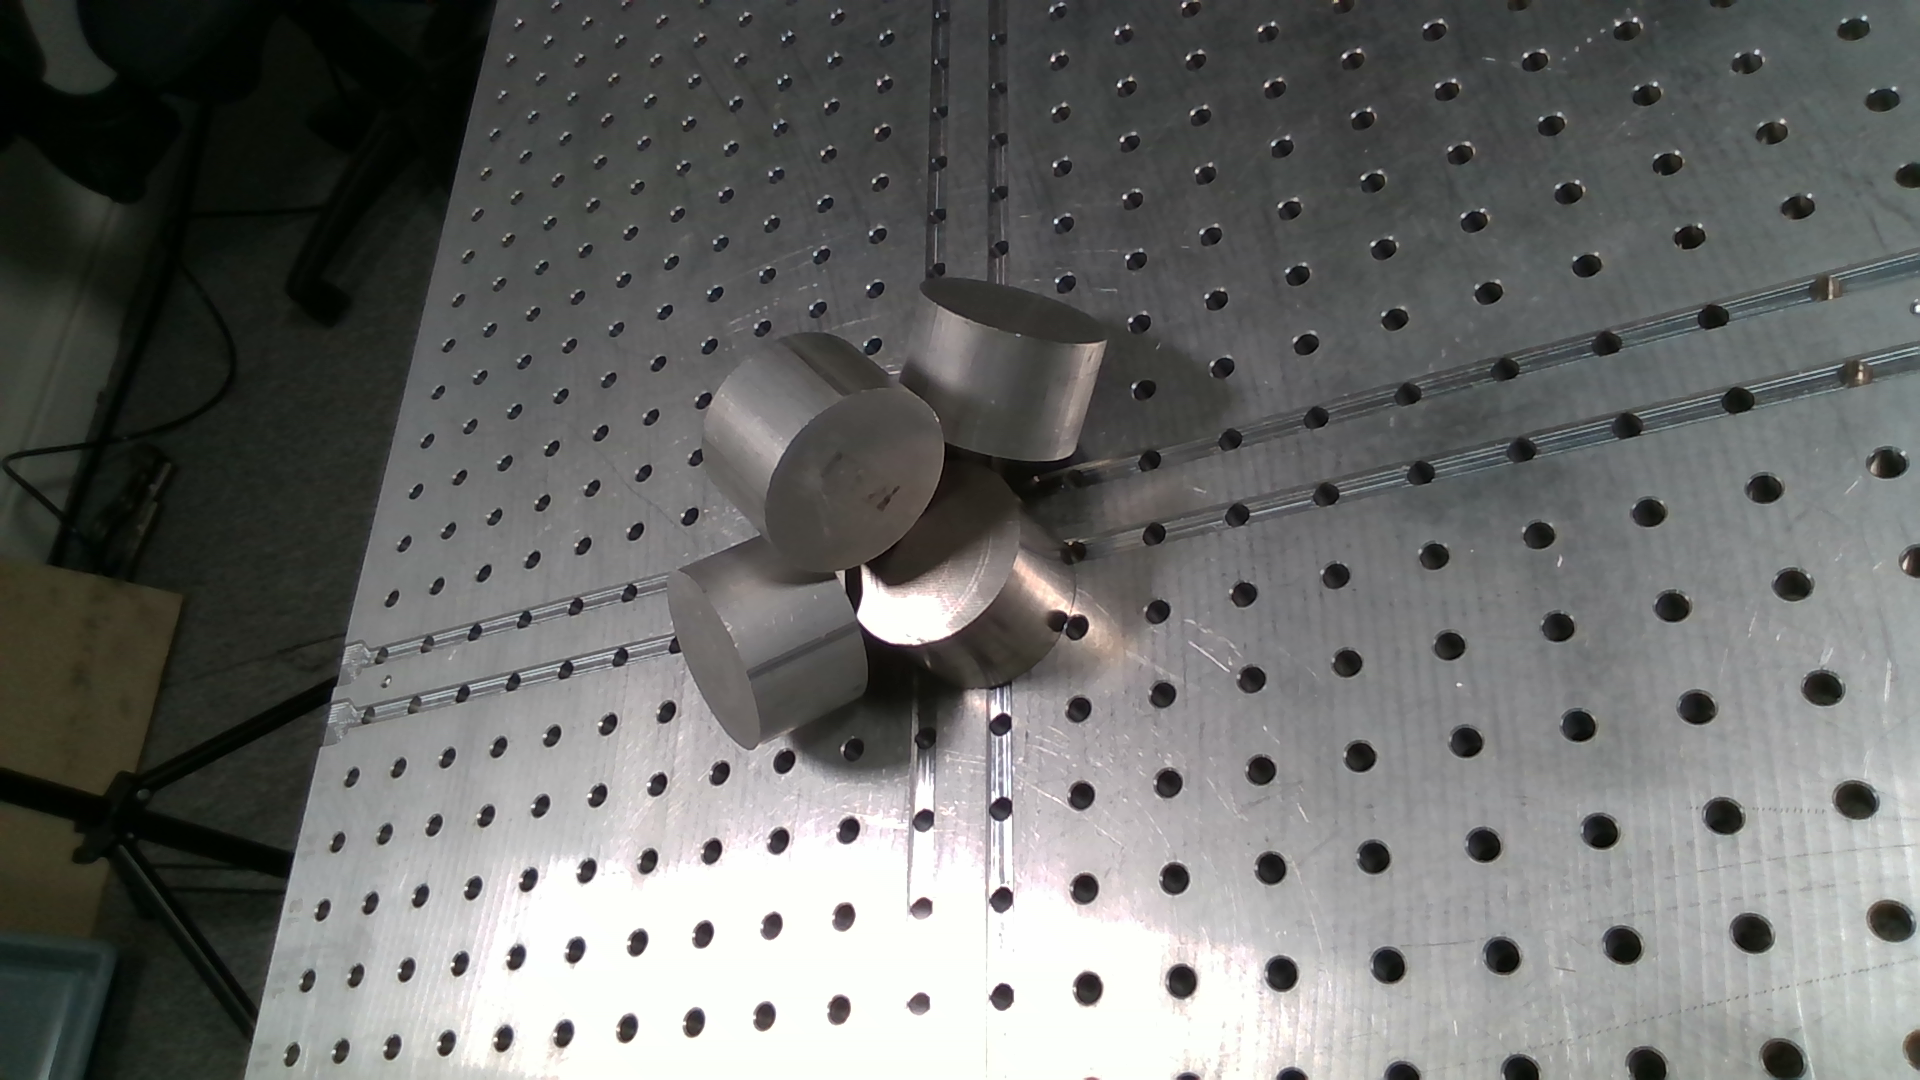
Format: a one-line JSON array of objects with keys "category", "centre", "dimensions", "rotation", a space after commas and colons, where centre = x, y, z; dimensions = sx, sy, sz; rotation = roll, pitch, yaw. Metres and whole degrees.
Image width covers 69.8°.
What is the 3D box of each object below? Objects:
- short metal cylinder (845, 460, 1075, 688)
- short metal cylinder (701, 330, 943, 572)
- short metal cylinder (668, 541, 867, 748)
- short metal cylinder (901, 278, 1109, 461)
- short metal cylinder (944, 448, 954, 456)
[{"category": "short metal cylinder", "centre": [0.000, 0.014, 0.564], "dimensions": [0.080, 0.050, 0.080], "rotation": [-14, 59, 25]}, {"category": "short metal cylinder", "centre": [-0.054, -0.035, 0.538], "dimensions": [0.080, 0.080, 0.050], "rotation": [-49, 51, 0]}, {"category": "short metal cylinder", "centre": [-0.081, 0.040, 0.572], "dimensions": [0.050, 0.080, 0.080], "rotation": [-24, 45, -26]}, {"category": "short metal cylinder", "centre": [0.016, -0.072, 0.572], "dimensions": [0.080, 0.080, 0.050], "rotation": [35, 120, 39]}, {"category": "short metal cylinder", "centre": [-0.046, -0.028, 0.615], "dimensions": [0.080, 0.050, 0.080], "rotation": [-14, 59, 25]}]
